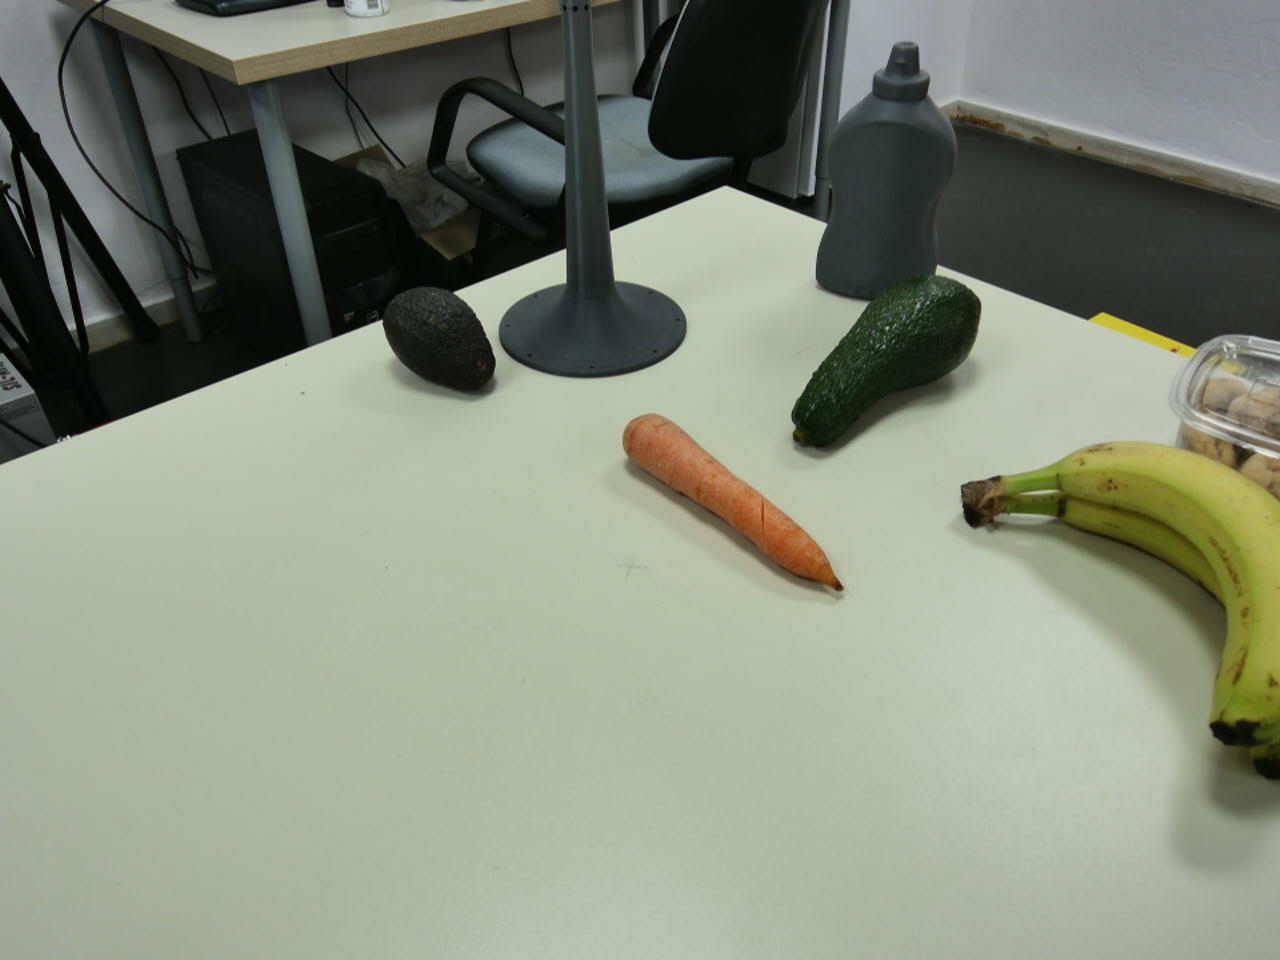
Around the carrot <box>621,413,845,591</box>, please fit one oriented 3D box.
[{"bbox_3d":[0.060,0.010,0.648,0.039,0.041,0.196,-27,45,-32],"label":"carrot"}]
